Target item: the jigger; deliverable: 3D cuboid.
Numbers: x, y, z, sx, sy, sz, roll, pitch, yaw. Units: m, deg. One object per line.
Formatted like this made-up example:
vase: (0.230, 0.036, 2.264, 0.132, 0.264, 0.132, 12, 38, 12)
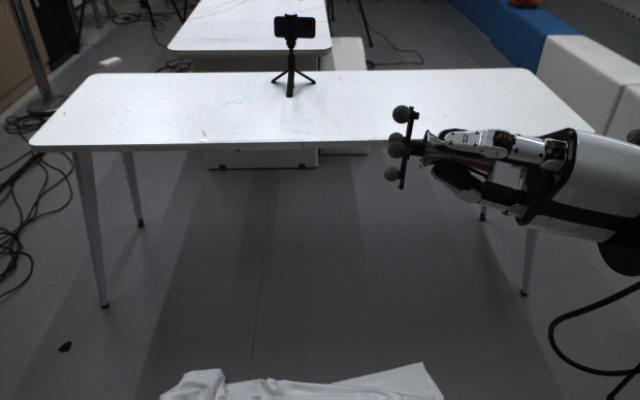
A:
jigger: (0.147, -0.051, 0.497, 0.071, 0.043, 0.043, 7, 35, 5)
